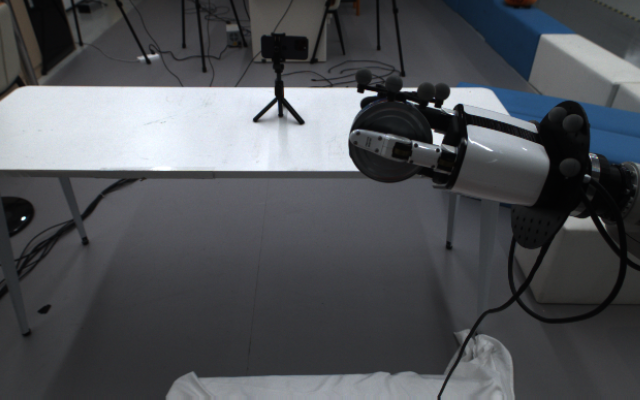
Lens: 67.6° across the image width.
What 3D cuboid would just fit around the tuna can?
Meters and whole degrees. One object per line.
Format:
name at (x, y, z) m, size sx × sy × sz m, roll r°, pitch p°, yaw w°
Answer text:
tuna can at (0.075, -0.066, 0.511) m, size 0.085 × 0.085 × 0.034 m, roll 5°, pitch 19°, yaw 4°
